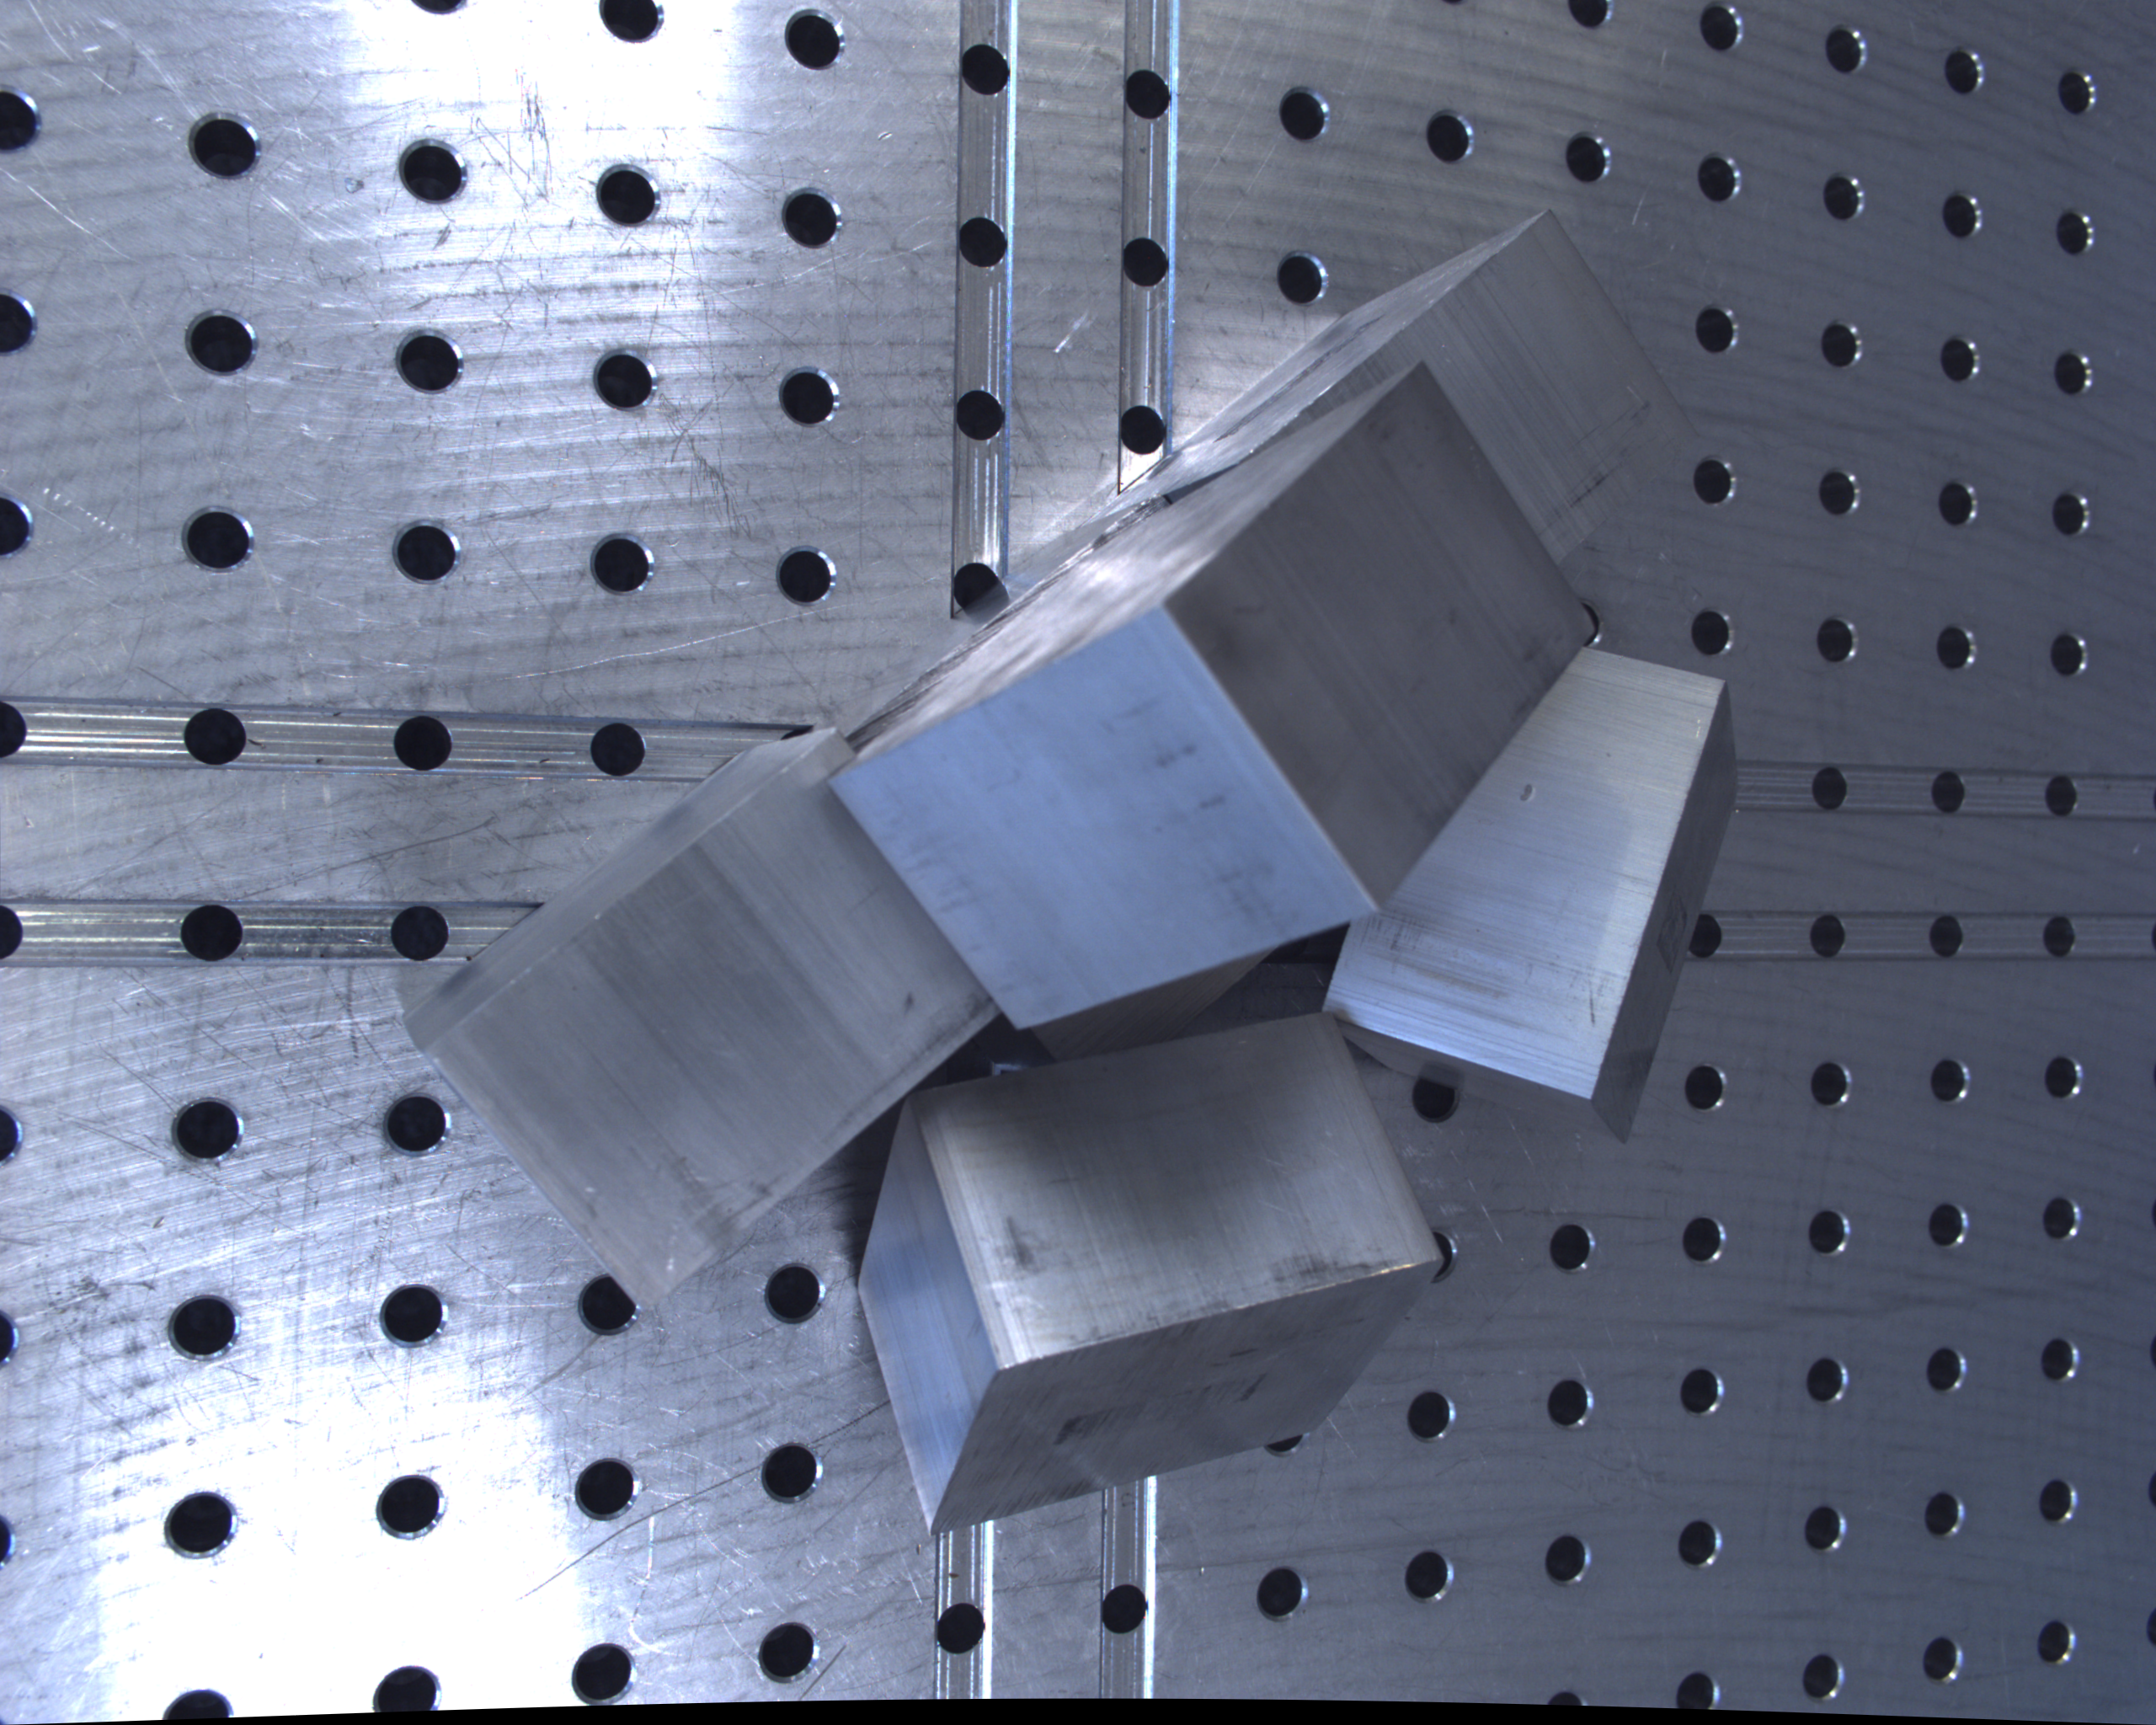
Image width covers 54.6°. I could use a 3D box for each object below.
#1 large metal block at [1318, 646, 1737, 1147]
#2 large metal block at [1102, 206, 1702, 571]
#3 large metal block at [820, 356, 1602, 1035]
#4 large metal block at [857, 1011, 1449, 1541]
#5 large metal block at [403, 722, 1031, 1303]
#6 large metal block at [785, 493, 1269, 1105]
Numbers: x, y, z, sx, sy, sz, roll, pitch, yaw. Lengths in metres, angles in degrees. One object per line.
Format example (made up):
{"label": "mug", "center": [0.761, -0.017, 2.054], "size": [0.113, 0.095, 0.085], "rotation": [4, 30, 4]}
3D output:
{"label": "large metal block", "center": [0.091, 0.007, 0.409], "size": [0.050, 0.080, 0.080], "rotation": [17, 83, 22]}
{"label": "large metal block", "center": [0.056, -0.073, 0.404], "size": [0.080, 0.080, 0.050], "rotation": [-41, 104, -15]}
{"label": "large metal block", "center": [0.021, -0.025, 0.324], "size": [0.050, 0.080, 0.080], "rotation": [54, 49, -12]}
{"label": "large metal block", "center": [0.009, 0.076, 0.379], "size": [0.081, 0.080, 0.050], "rotation": [-9, 57, -20]}
{"label": "large metal block", "center": [-0.065, 0.022, 0.358], "size": [0.080, 0.080, 0.050], "rotation": [-40, 103, -16]}
{"label": "large metal block", "center": [0.000, -0.011, 0.400], "size": [0.080, 0.050, 0.080], "rotation": [-41, 103, -15]}
